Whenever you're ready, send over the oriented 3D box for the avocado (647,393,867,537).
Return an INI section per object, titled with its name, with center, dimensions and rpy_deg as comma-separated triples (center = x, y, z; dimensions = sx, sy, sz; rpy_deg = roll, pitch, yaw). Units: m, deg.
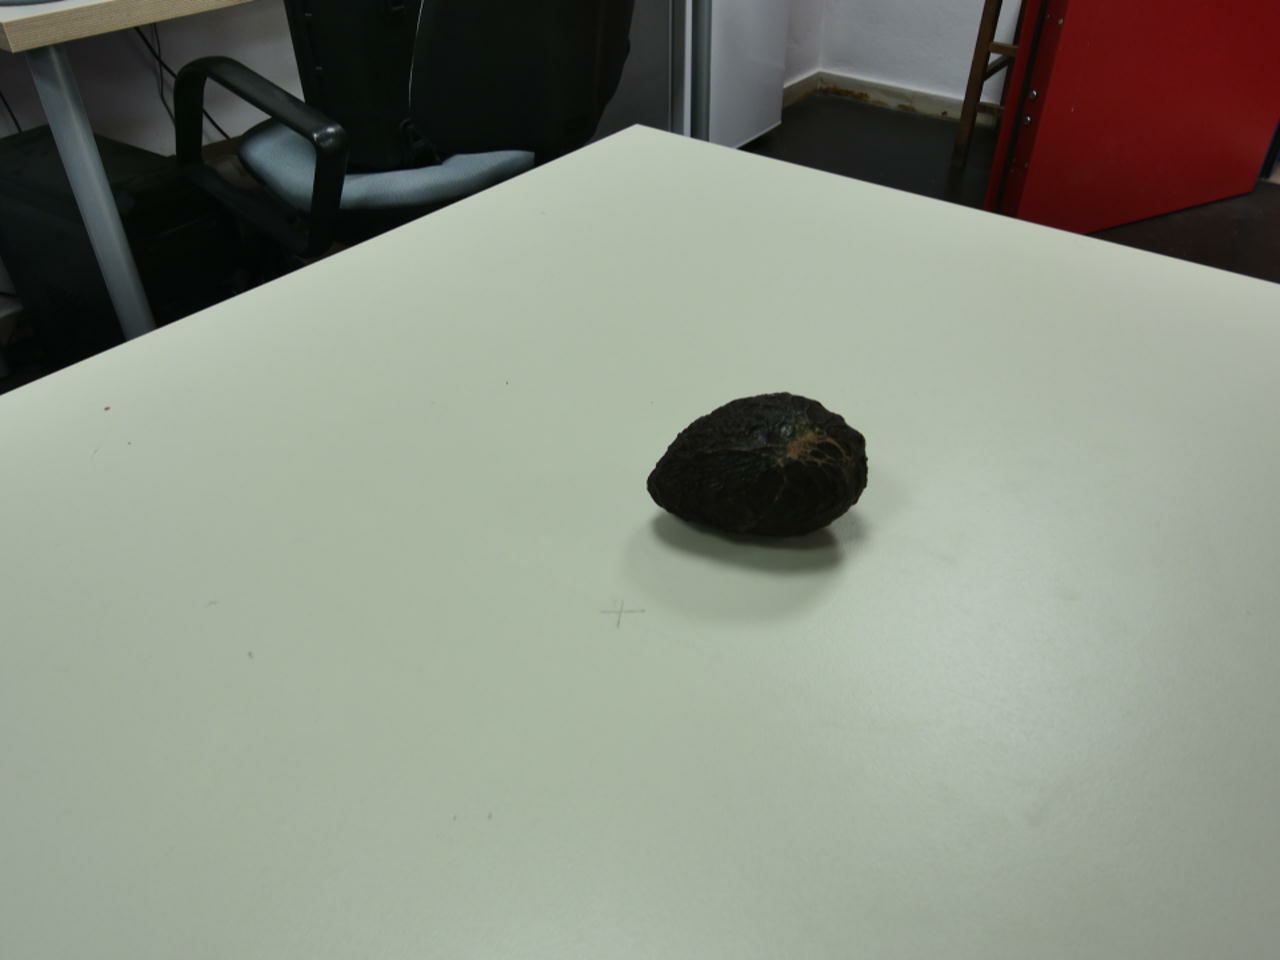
[avocado]
center = 0.051, -0.007, 0.432
dimensions = 0.092, 0.062, 0.062
rpy_deg = 10, 38, 13
